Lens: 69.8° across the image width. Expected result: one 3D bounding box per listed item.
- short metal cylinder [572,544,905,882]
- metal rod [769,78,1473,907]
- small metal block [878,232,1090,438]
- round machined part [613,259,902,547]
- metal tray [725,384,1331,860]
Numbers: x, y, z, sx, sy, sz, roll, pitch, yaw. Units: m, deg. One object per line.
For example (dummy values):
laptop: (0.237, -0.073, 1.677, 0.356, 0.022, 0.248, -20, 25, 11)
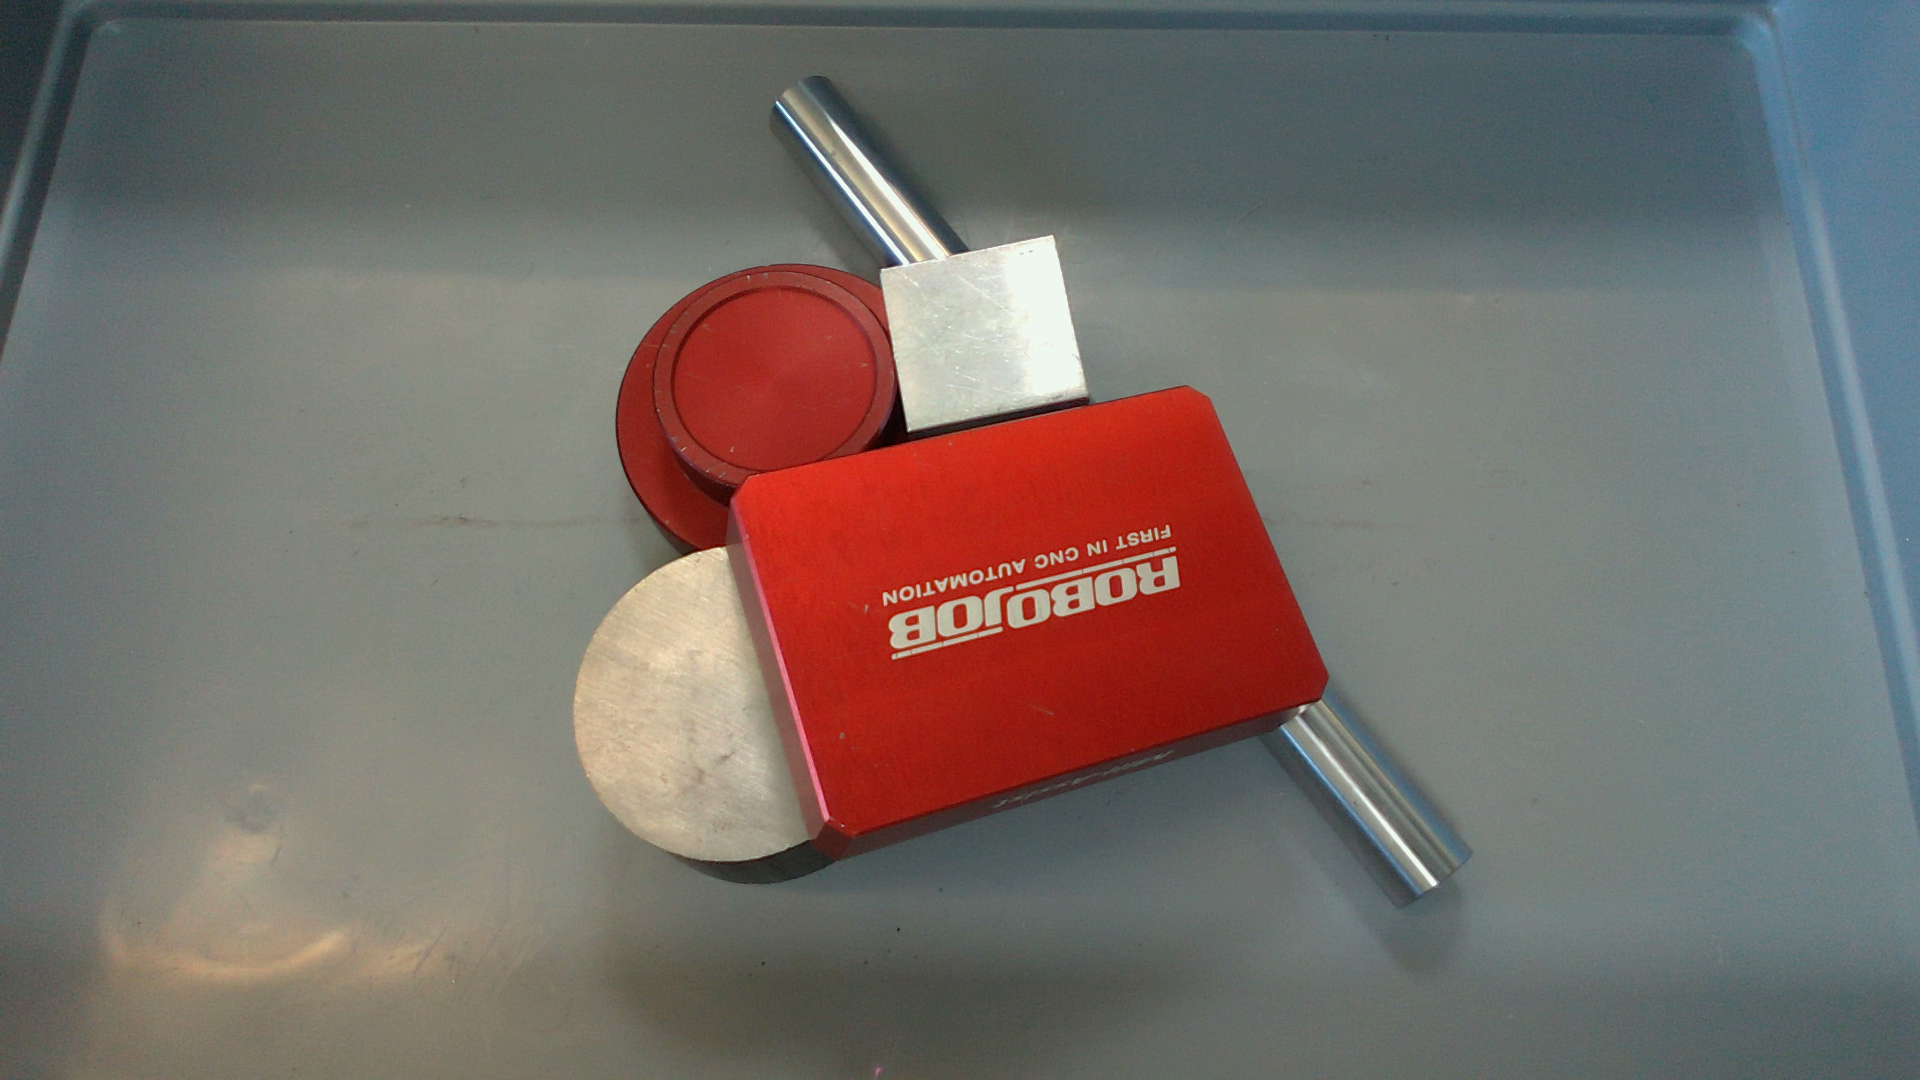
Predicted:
short metal cylinder: (-0.055, 0.047, 0.362, 0.080, 0.050, 0.080, 0, 70, 0)
metal rod: (0.037, -0.025, 0.403, 0.025, 0.025, 0.300, -34, 74, -12)
small metal block: (0.007, -0.054, 0.388, 0.050, 0.025, 0.050, -11, 73, 1)
round machined part: (-0.052, -0.039, 0.397, 0.098, 0.042, 0.098, 0, 70, 1)
metal tray: (0.016, 0.017, 0.344, 0.130, 0.030, 0.090, -13, 70, -18)
